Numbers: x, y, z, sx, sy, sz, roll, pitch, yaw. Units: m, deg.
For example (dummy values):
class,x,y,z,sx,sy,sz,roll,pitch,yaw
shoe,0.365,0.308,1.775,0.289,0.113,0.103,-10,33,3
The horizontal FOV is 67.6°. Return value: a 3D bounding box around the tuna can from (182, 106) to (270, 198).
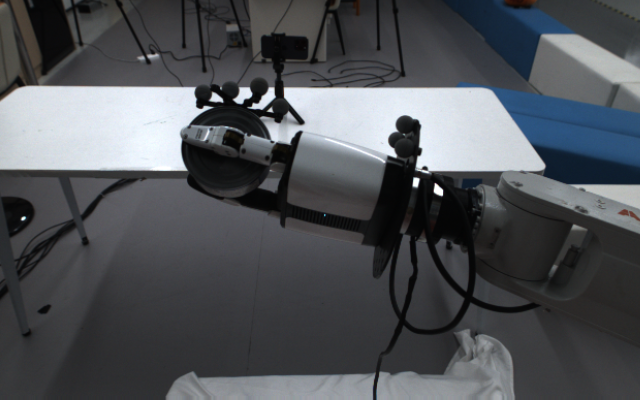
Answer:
class,x,y,z,sx,sy,sz,roll,pitch,yaw
tuna can,-0.089,-0.048,0.477,0.085,0.034,0.085,1,73,-3
